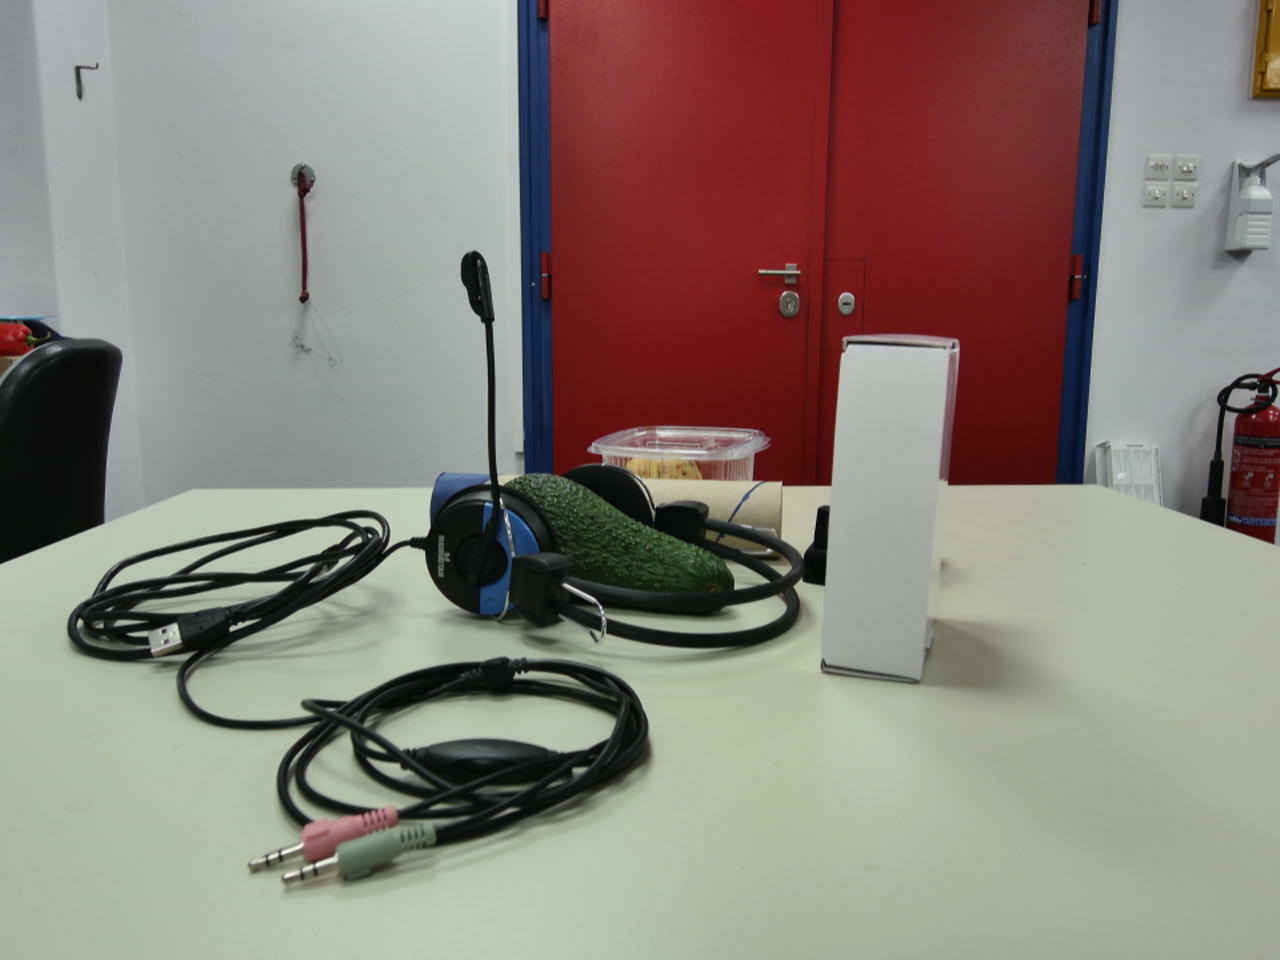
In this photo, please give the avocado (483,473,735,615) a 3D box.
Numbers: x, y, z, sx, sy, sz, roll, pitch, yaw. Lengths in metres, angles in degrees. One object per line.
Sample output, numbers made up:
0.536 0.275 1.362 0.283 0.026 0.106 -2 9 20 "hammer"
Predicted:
-0.017 0.031 0.521 0.141 0.067 0.063 2 6 14 "avocado"
